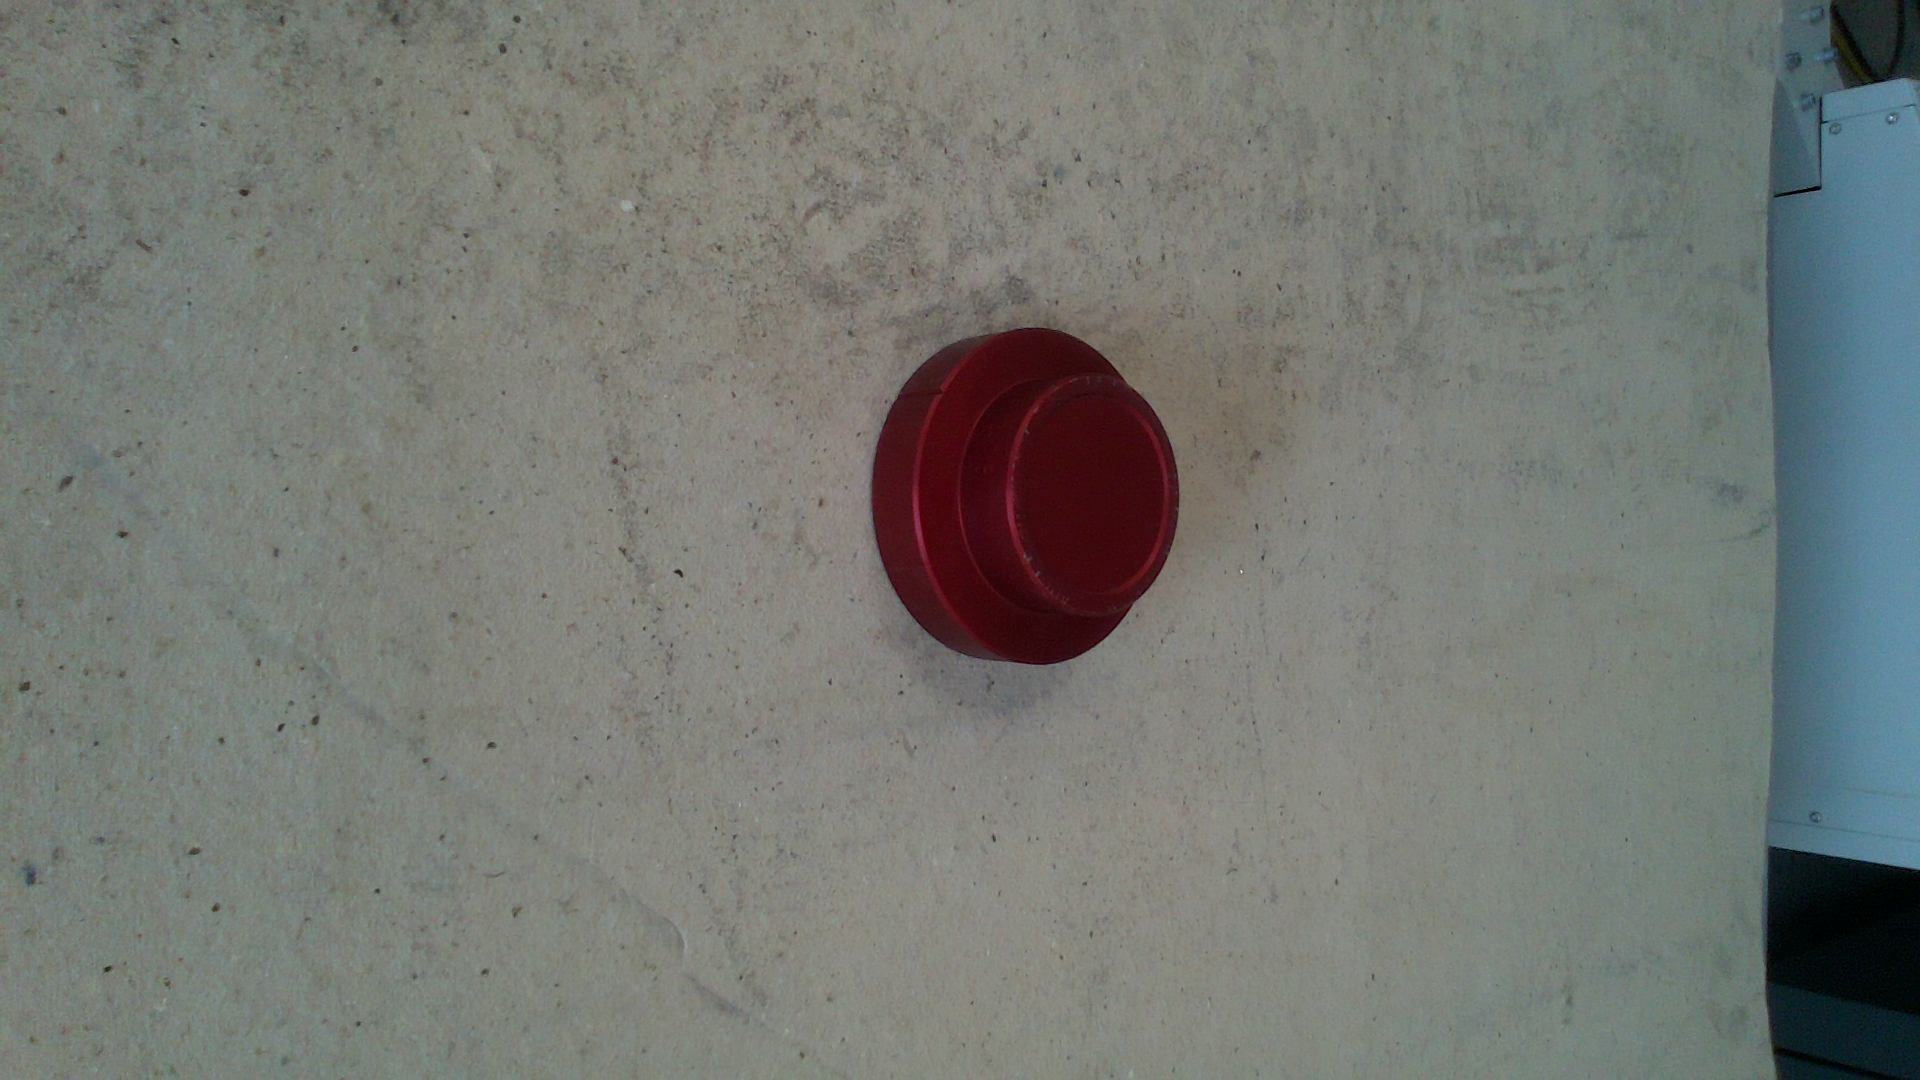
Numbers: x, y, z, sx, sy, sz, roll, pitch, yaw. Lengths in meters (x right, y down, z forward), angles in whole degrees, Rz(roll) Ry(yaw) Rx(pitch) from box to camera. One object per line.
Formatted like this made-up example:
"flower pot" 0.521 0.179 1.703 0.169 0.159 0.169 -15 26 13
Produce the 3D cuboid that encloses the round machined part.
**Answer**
"round machined part" 0.025 -0.013 0.399 0.098 0.042 0.098 0 90 -40
